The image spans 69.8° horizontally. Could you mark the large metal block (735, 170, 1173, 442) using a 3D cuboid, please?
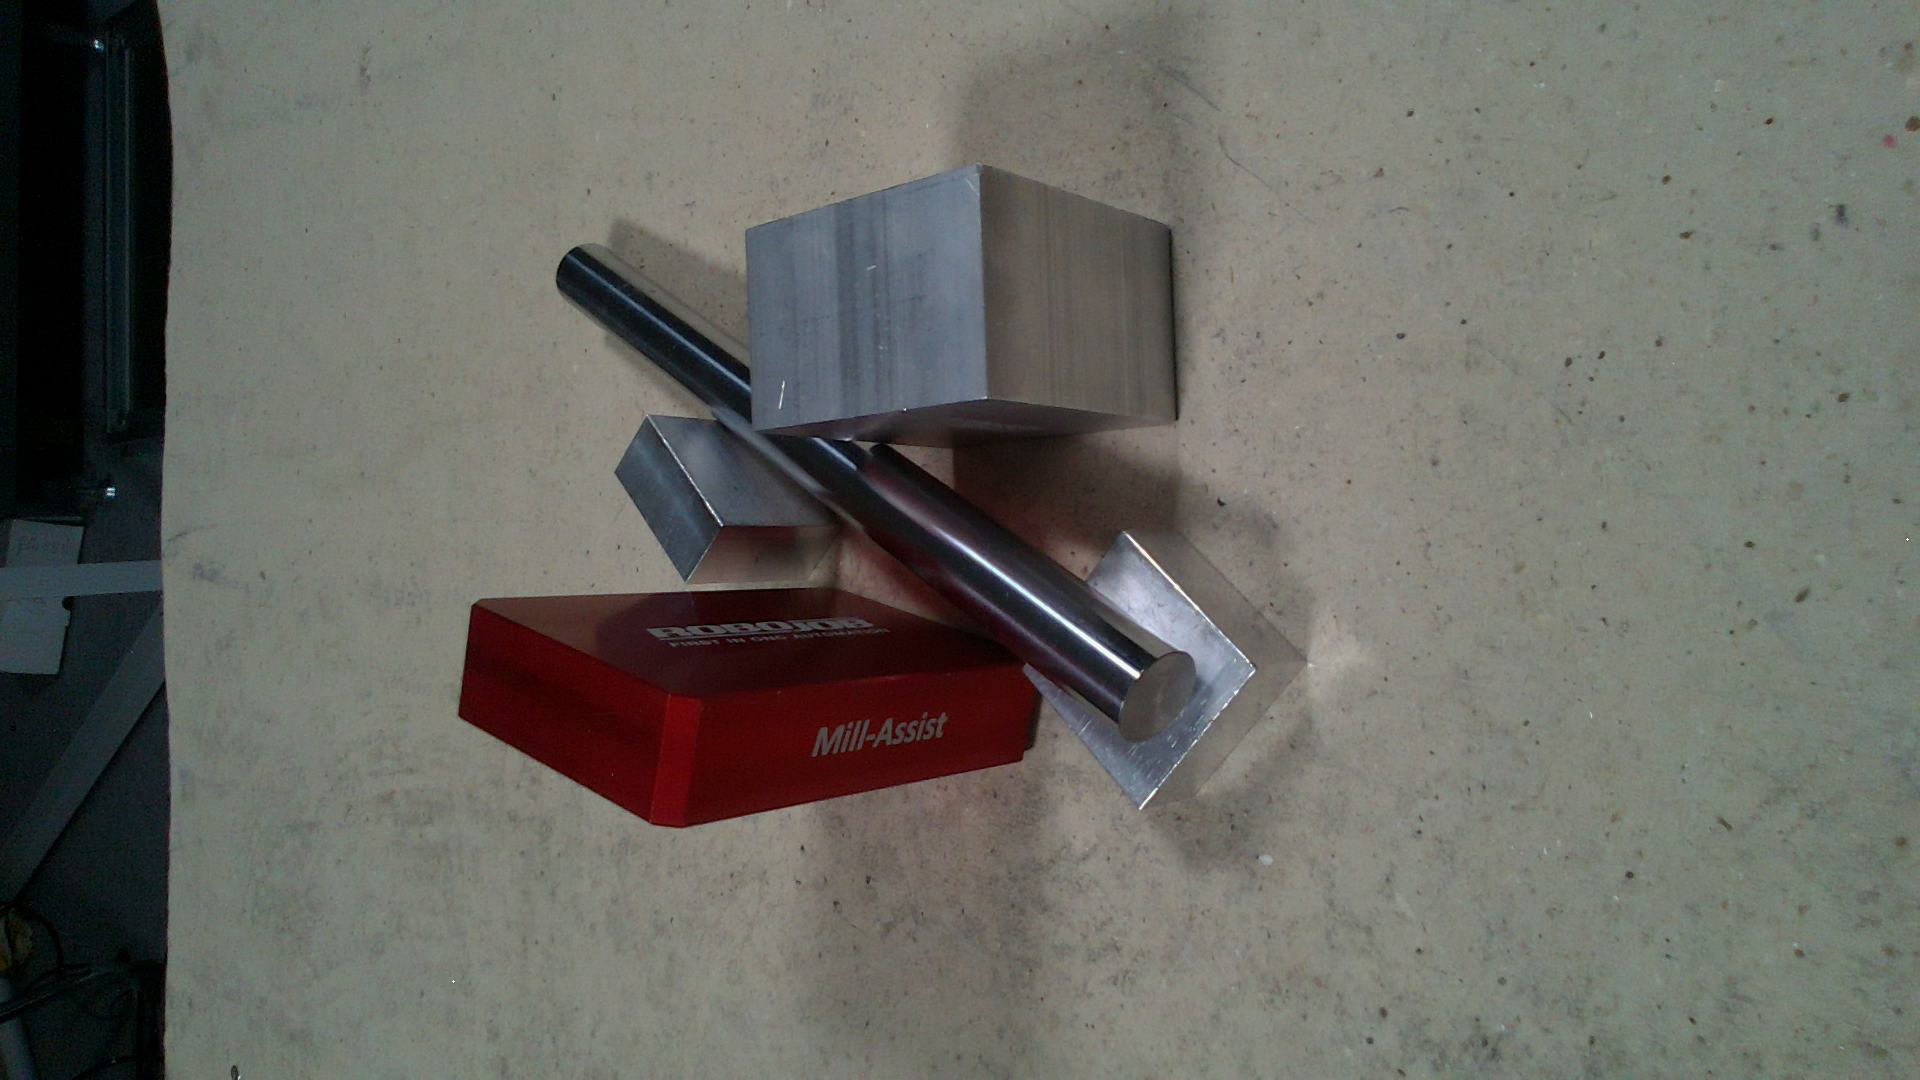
[{"bbox_3d":[-0.001,-0.055,0.358,0.080,0.080,0.050,-3,88,40],"label":"large metal block"}]

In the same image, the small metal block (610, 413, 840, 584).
[{"bbox_3d":[-0.075,-0.013,0.441,0.050,0.050,0.025,52,121,27],"label":"small metal block"}]

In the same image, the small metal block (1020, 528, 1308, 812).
[{"bbox_3d":[0.051,0.032,0.353,0.050,0.025,0.050,49,119,29],"label":"small metal block"}]

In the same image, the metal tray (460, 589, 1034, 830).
[{"bbox_3d":[-0.052,0.039,0.370,0.090,0.131,0.030,16,100,39],"label":"metal tray"}]

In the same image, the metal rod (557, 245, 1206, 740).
[{"bbox_3d":[-0.045,-0.031,0.415,0.299,0.025,0.025,36,112,40],"label":"metal rod"}]
